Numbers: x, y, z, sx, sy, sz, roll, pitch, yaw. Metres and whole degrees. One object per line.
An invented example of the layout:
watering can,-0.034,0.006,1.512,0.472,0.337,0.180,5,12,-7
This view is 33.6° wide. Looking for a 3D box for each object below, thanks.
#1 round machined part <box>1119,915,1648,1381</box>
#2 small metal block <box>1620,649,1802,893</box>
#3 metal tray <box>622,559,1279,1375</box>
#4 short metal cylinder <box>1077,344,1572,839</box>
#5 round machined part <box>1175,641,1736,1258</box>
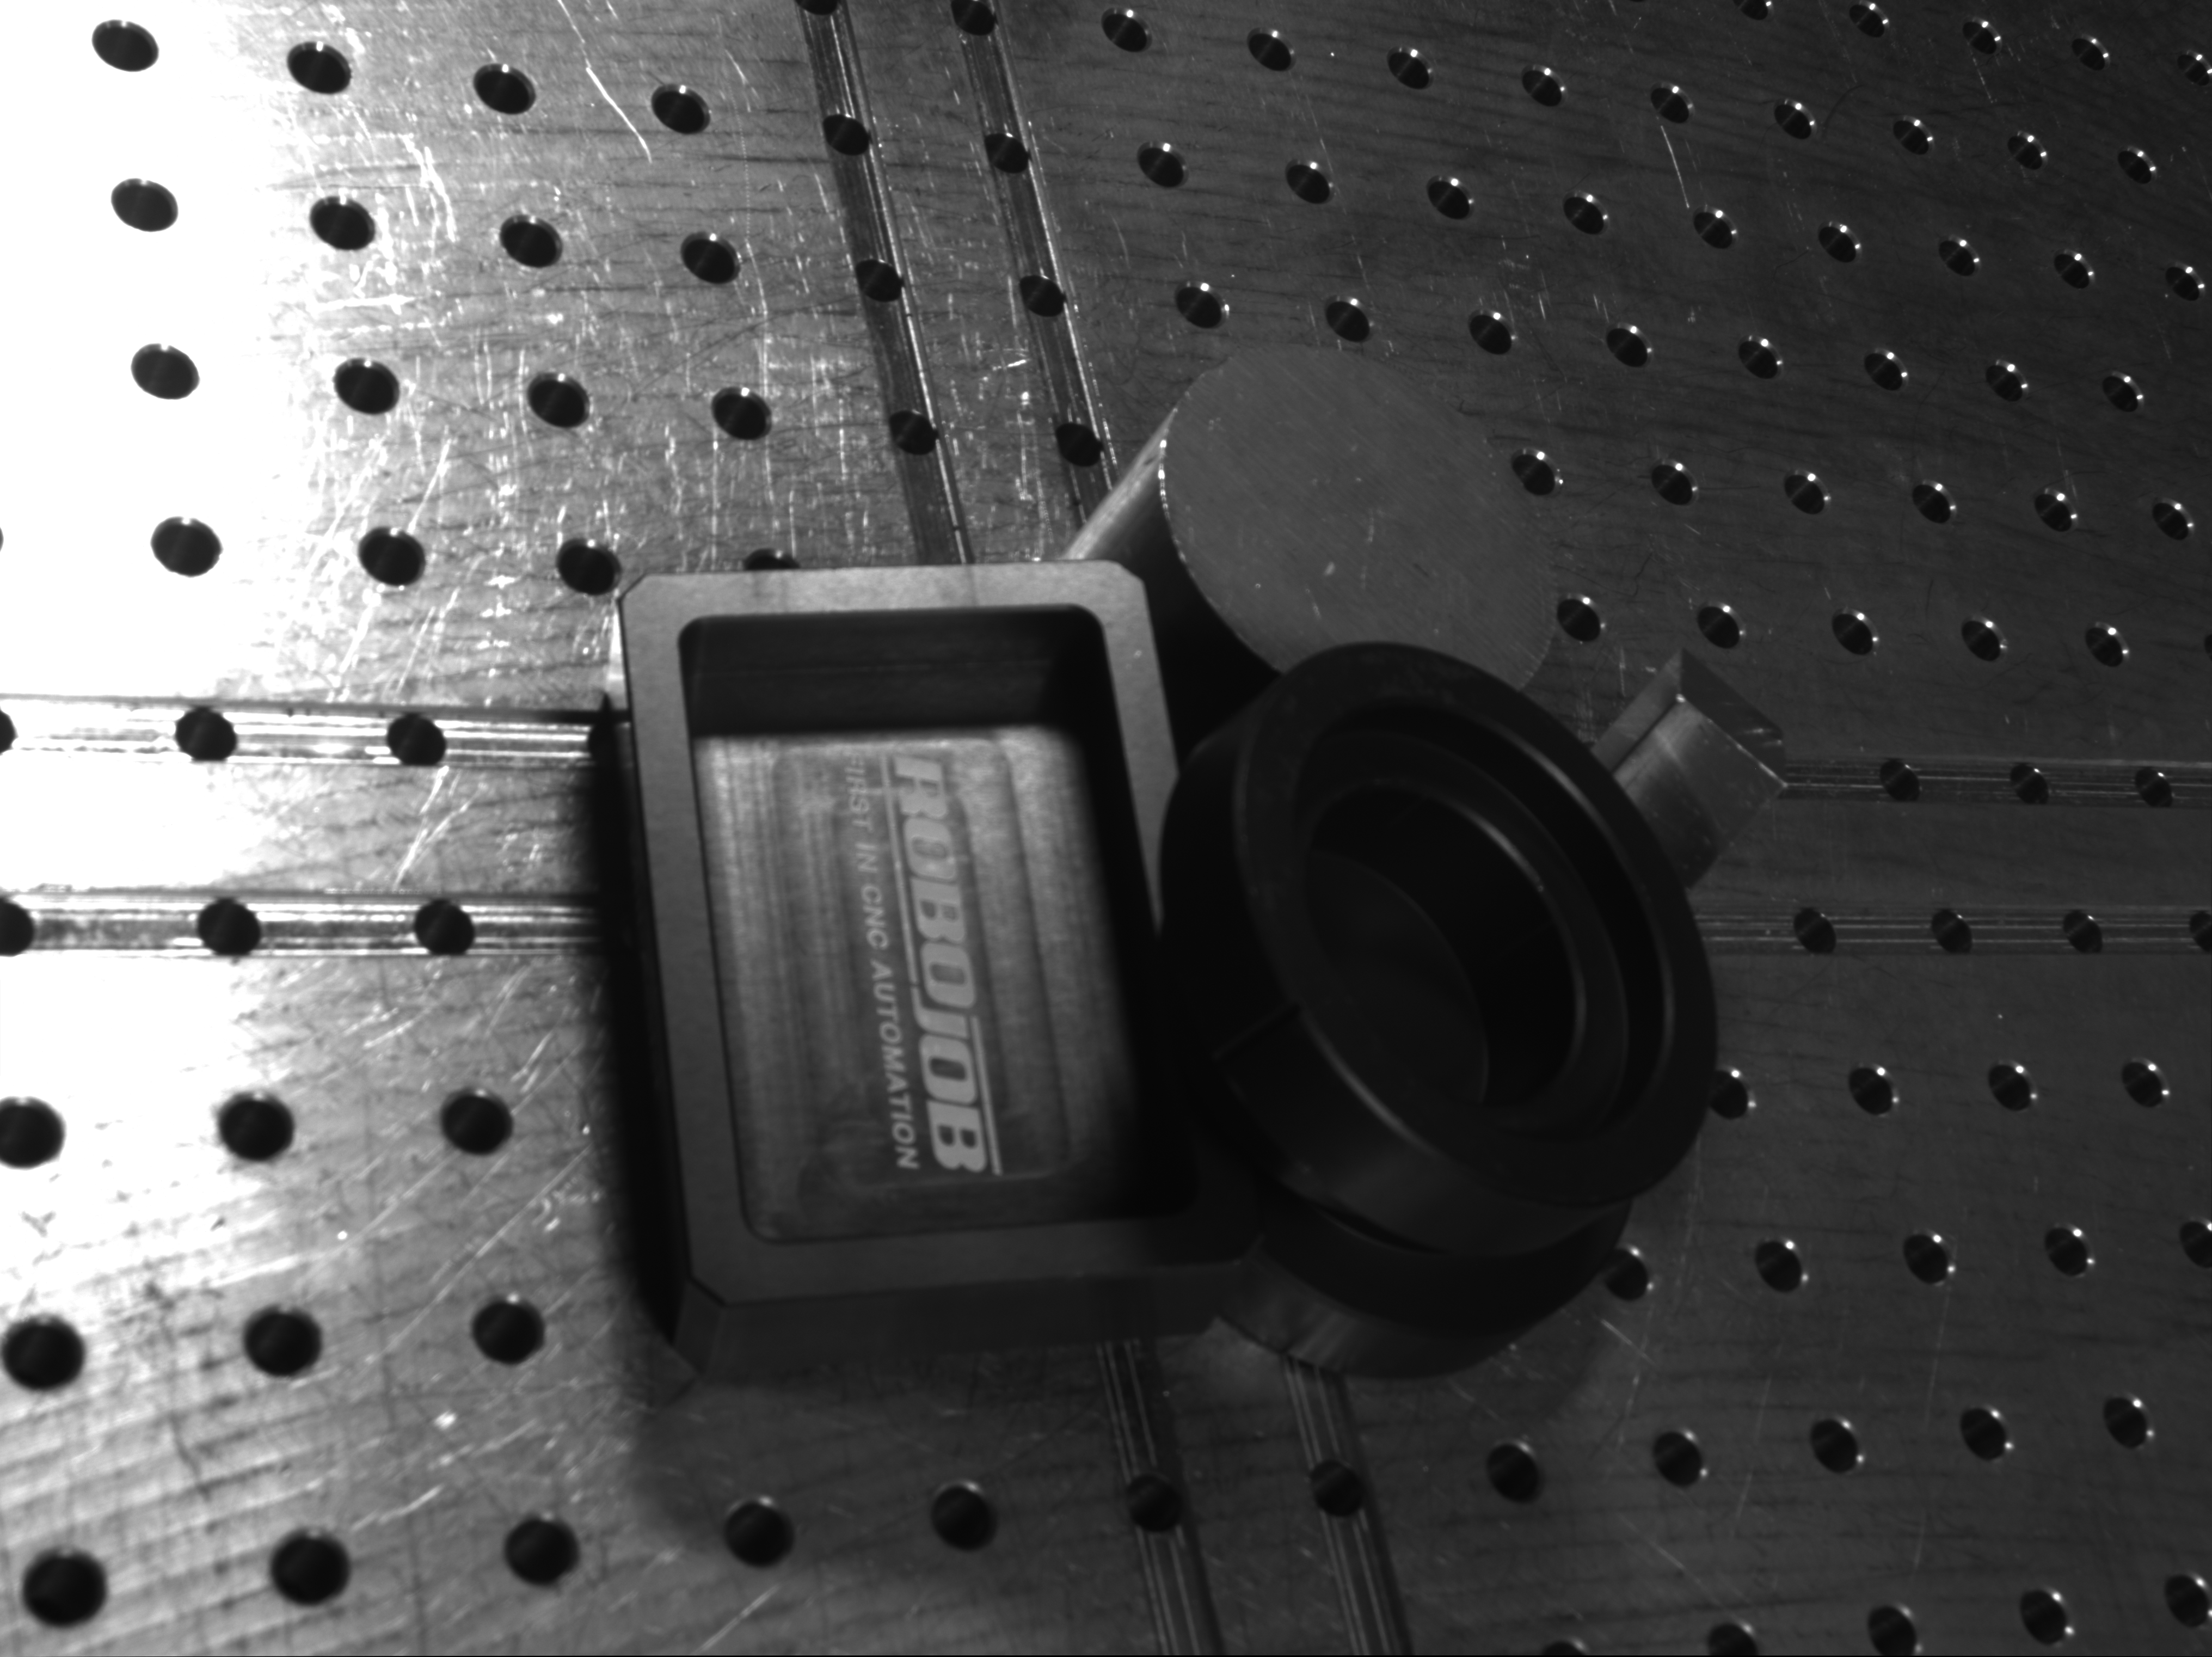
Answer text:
round machined part,0.054,0.042,0.634,0.098,0.042,0.098,14,56,-21
small metal block,0.101,-0.002,0.670,0.025,0.050,0.050,40,16,-1
metal tray,-0.028,0.020,0.598,0.090,0.030,0.130,-3,62,-13
short metal cylinder,0.038,-0.042,0.672,0.080,0.050,0.080,14,56,-21
round machined part,0.050,0.023,0.583,0.098,0.042,0.098,21,52,-29
